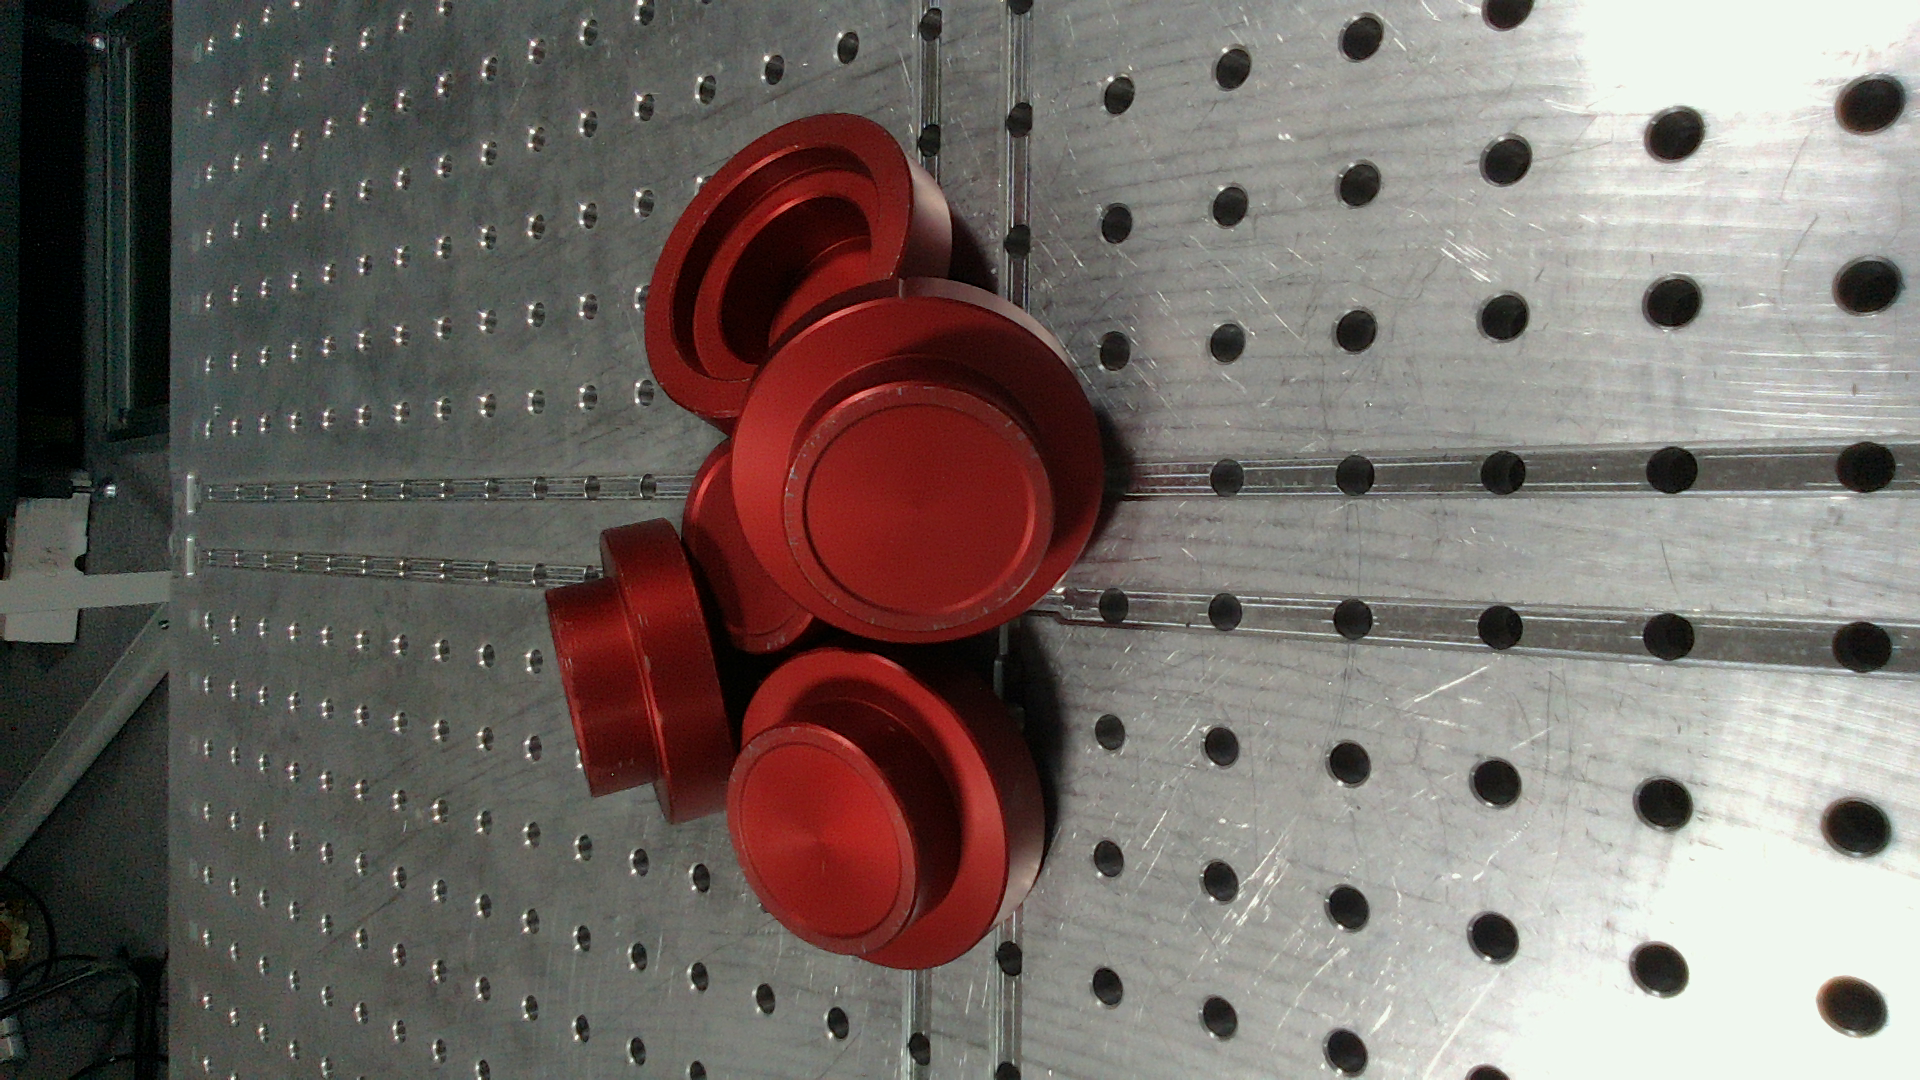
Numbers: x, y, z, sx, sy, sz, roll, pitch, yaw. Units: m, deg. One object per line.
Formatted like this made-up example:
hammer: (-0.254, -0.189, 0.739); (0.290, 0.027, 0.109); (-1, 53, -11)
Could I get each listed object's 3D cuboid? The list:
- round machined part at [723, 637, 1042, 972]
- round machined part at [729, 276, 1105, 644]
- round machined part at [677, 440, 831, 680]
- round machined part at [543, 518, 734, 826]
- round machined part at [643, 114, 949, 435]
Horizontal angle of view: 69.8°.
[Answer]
round machined part: (-0.029, 0.078, 0.395); (0.098, 0.042, 0.098); (9, 106, 32)
round machined part: (-0.011, -0.016, 0.357); (0.042, 0.098, 0.098); (-98, 32, -65)
round machined part: (-0.051, 0.000, 0.428); (0.098, 0.042, 0.098); (0, 90, 40)
round machined part: (-0.106, 0.045, 0.445); (0.098, 0.042, 0.098); (167, 90, -71)
round machined part: (-0.044, -0.073, 0.409); (0.098, 0.042, 0.098); (-15, 61, 29)
